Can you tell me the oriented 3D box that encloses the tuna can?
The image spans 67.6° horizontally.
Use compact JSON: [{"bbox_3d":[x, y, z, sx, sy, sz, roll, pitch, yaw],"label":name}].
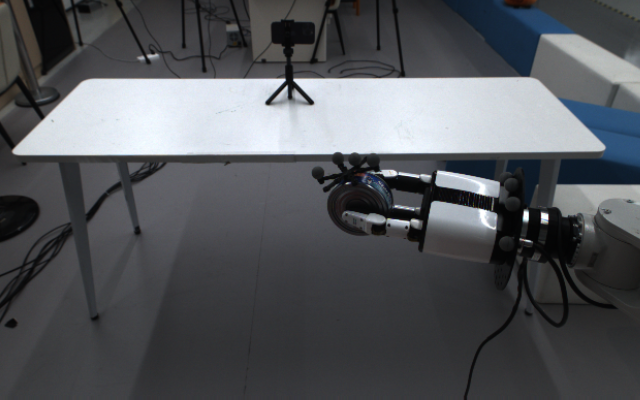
[{"bbox_3d":[0.058,0.011,0.651,0.085,0.085,0.034,11,34,13],"label":"tuna can"}]
